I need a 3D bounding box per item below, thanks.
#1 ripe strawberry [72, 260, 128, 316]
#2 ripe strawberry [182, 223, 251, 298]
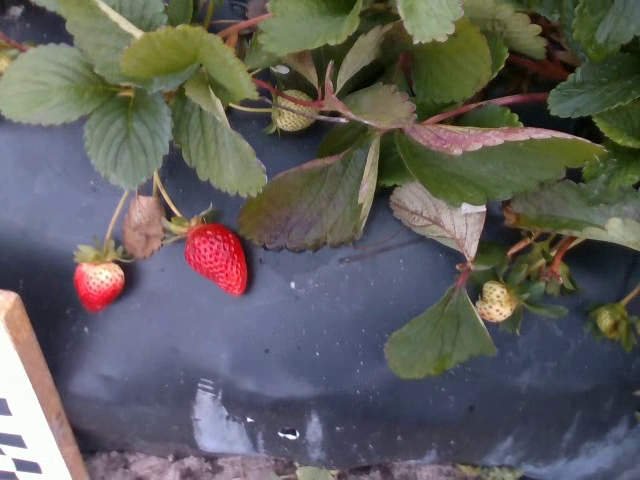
[{"bbox_3d":[-0.141,0.029,0.379,0.036,0.041,0.028,14,25,9],"label":"ripe strawberry"},{"bbox_3d":[-0.063,0.012,0.368,0.044,0.059,0.041,-25,11,40],"label":"ripe strawberry"}]
